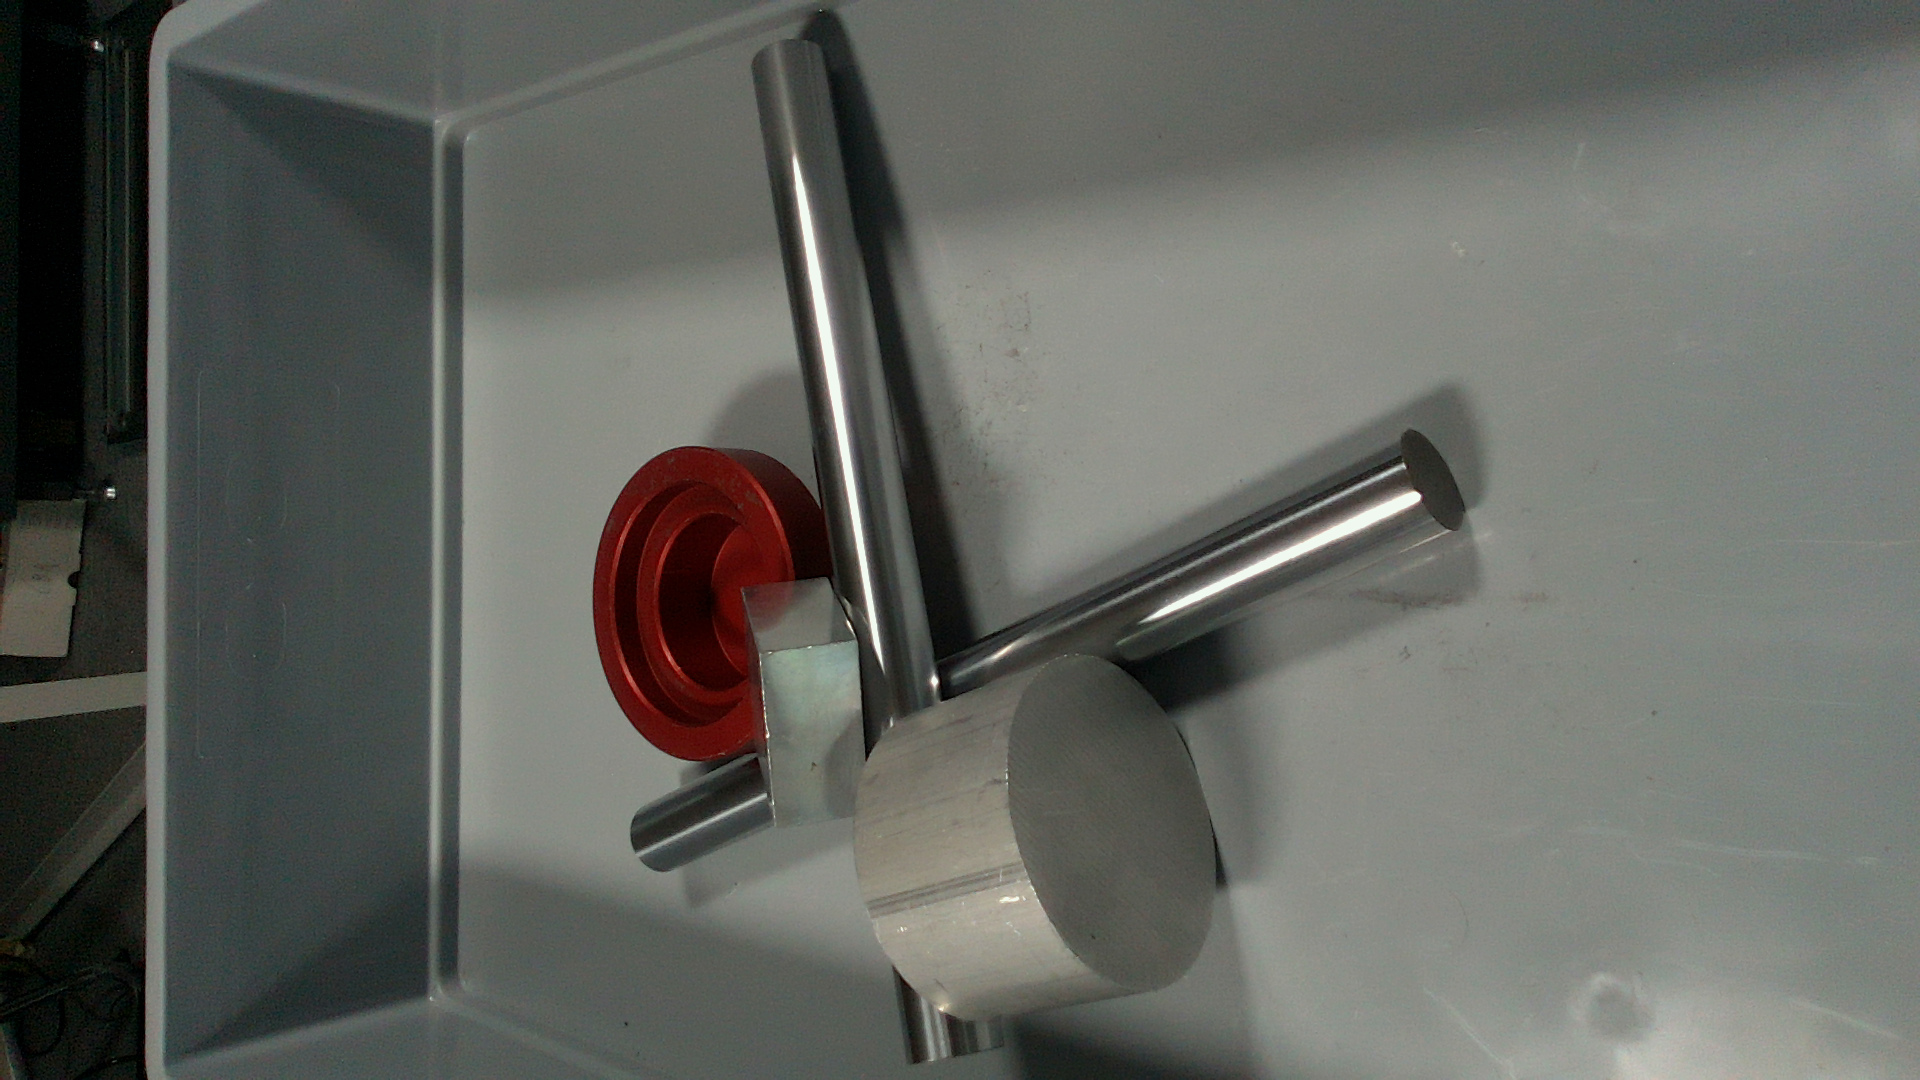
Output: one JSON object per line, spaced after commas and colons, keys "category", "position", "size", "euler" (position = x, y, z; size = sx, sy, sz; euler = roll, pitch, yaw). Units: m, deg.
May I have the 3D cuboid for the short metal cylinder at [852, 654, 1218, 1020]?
{"category": "short metal cylinder", "position": [0.020, 0.074, 0.341], "size": [0.050, 0.080, 0.080], "euler": [-25, 74, 37]}

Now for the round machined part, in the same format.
{"category": "round machined part", "position": [-0.072, 0.019, 0.444], "size": [0.098, 0.042, 0.098], "euler": [0, 90, 40]}

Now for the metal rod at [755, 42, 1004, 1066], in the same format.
{"category": "metal rod", "position": [-0.027, -0.010, 0.393], "size": [0.025, 0.025, 0.300], "euler": [-25, 67, 37]}

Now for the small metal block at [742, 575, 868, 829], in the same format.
{"category": "small metal block", "position": [-0.042, 0.042, 0.375], "size": [0.050, 0.025, 0.050], "euler": [-129, 35, -67]}

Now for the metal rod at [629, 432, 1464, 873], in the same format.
{"category": "metal rod", "position": [0.000, 0.046, 0.394], "size": [0.299, 0.025, 0.025], "euler": [-29, 72, 36]}
